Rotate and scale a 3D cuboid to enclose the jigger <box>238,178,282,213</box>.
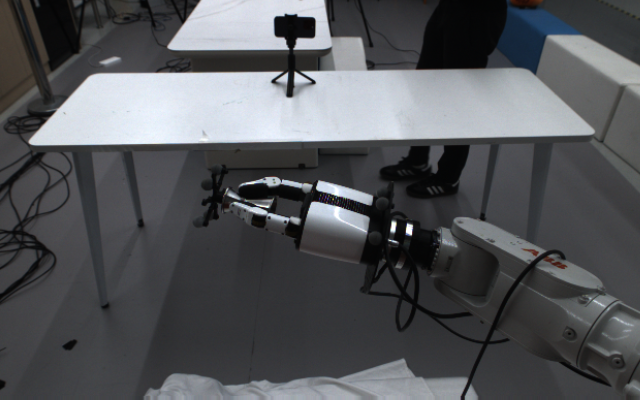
[{"bbox_3d":[-0.093,0.006,0.679,0.071,0.043,0.043,14,36,4],"label":"jigger"}]
